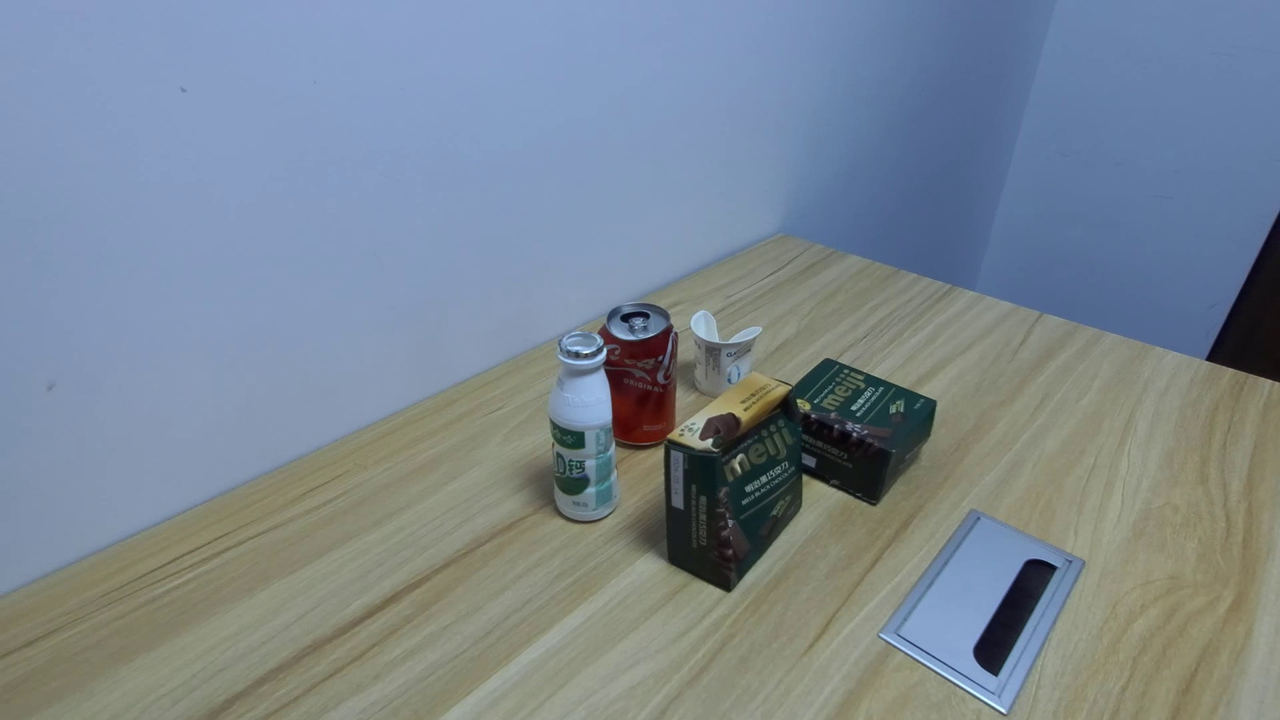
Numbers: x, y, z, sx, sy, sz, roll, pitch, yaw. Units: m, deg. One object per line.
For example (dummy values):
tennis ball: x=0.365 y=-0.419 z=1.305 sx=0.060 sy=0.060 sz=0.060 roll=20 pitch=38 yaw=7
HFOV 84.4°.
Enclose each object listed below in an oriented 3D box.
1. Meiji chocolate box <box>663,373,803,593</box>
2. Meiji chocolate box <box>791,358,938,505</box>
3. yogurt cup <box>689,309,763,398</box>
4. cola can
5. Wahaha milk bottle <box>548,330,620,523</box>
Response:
Meiji chocolate box: x=0.070 y=0.081 z=0.504 sx=0.051 sy=0.117 sz=0.118 roll=14 pitch=32 yaw=36
Meiji chocolate box: x=0.180 y=0.056 z=0.605 sx=0.122 sy=0.058 sz=0.116 roll=24 pitch=35 yaw=32
yogurt cup: x=0.078 y=-0.003 z=0.678 sx=0.067 sy=0.070 sz=0.067 roll=2 pitch=32 yaw=-1
cola can: x=0.002 y=0.012 z=0.612 sx=0.072 sy=0.117 sz=0.065 roll=20 pitch=37 yaw=27
Wahaha milk bottle: x=-0.040 y=0.050 z=0.521 sx=0.056 sy=0.148 sz=0.056 roll=1 pitch=30 yaw=0
